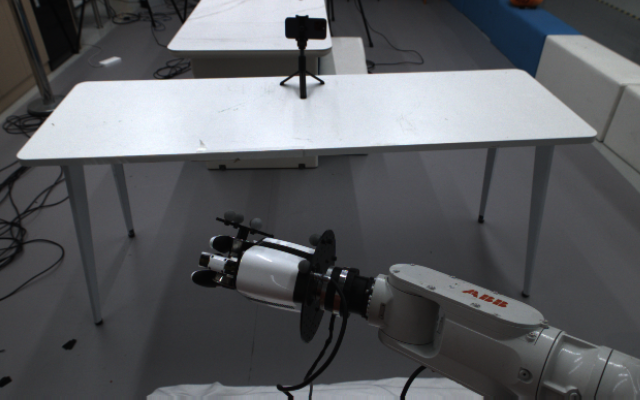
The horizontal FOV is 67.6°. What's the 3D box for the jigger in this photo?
[{"bbox_3d":[-0.125,0.088,0.702,0.043,0.071,0.043,18,-6,2],"label":"jigger"}]
